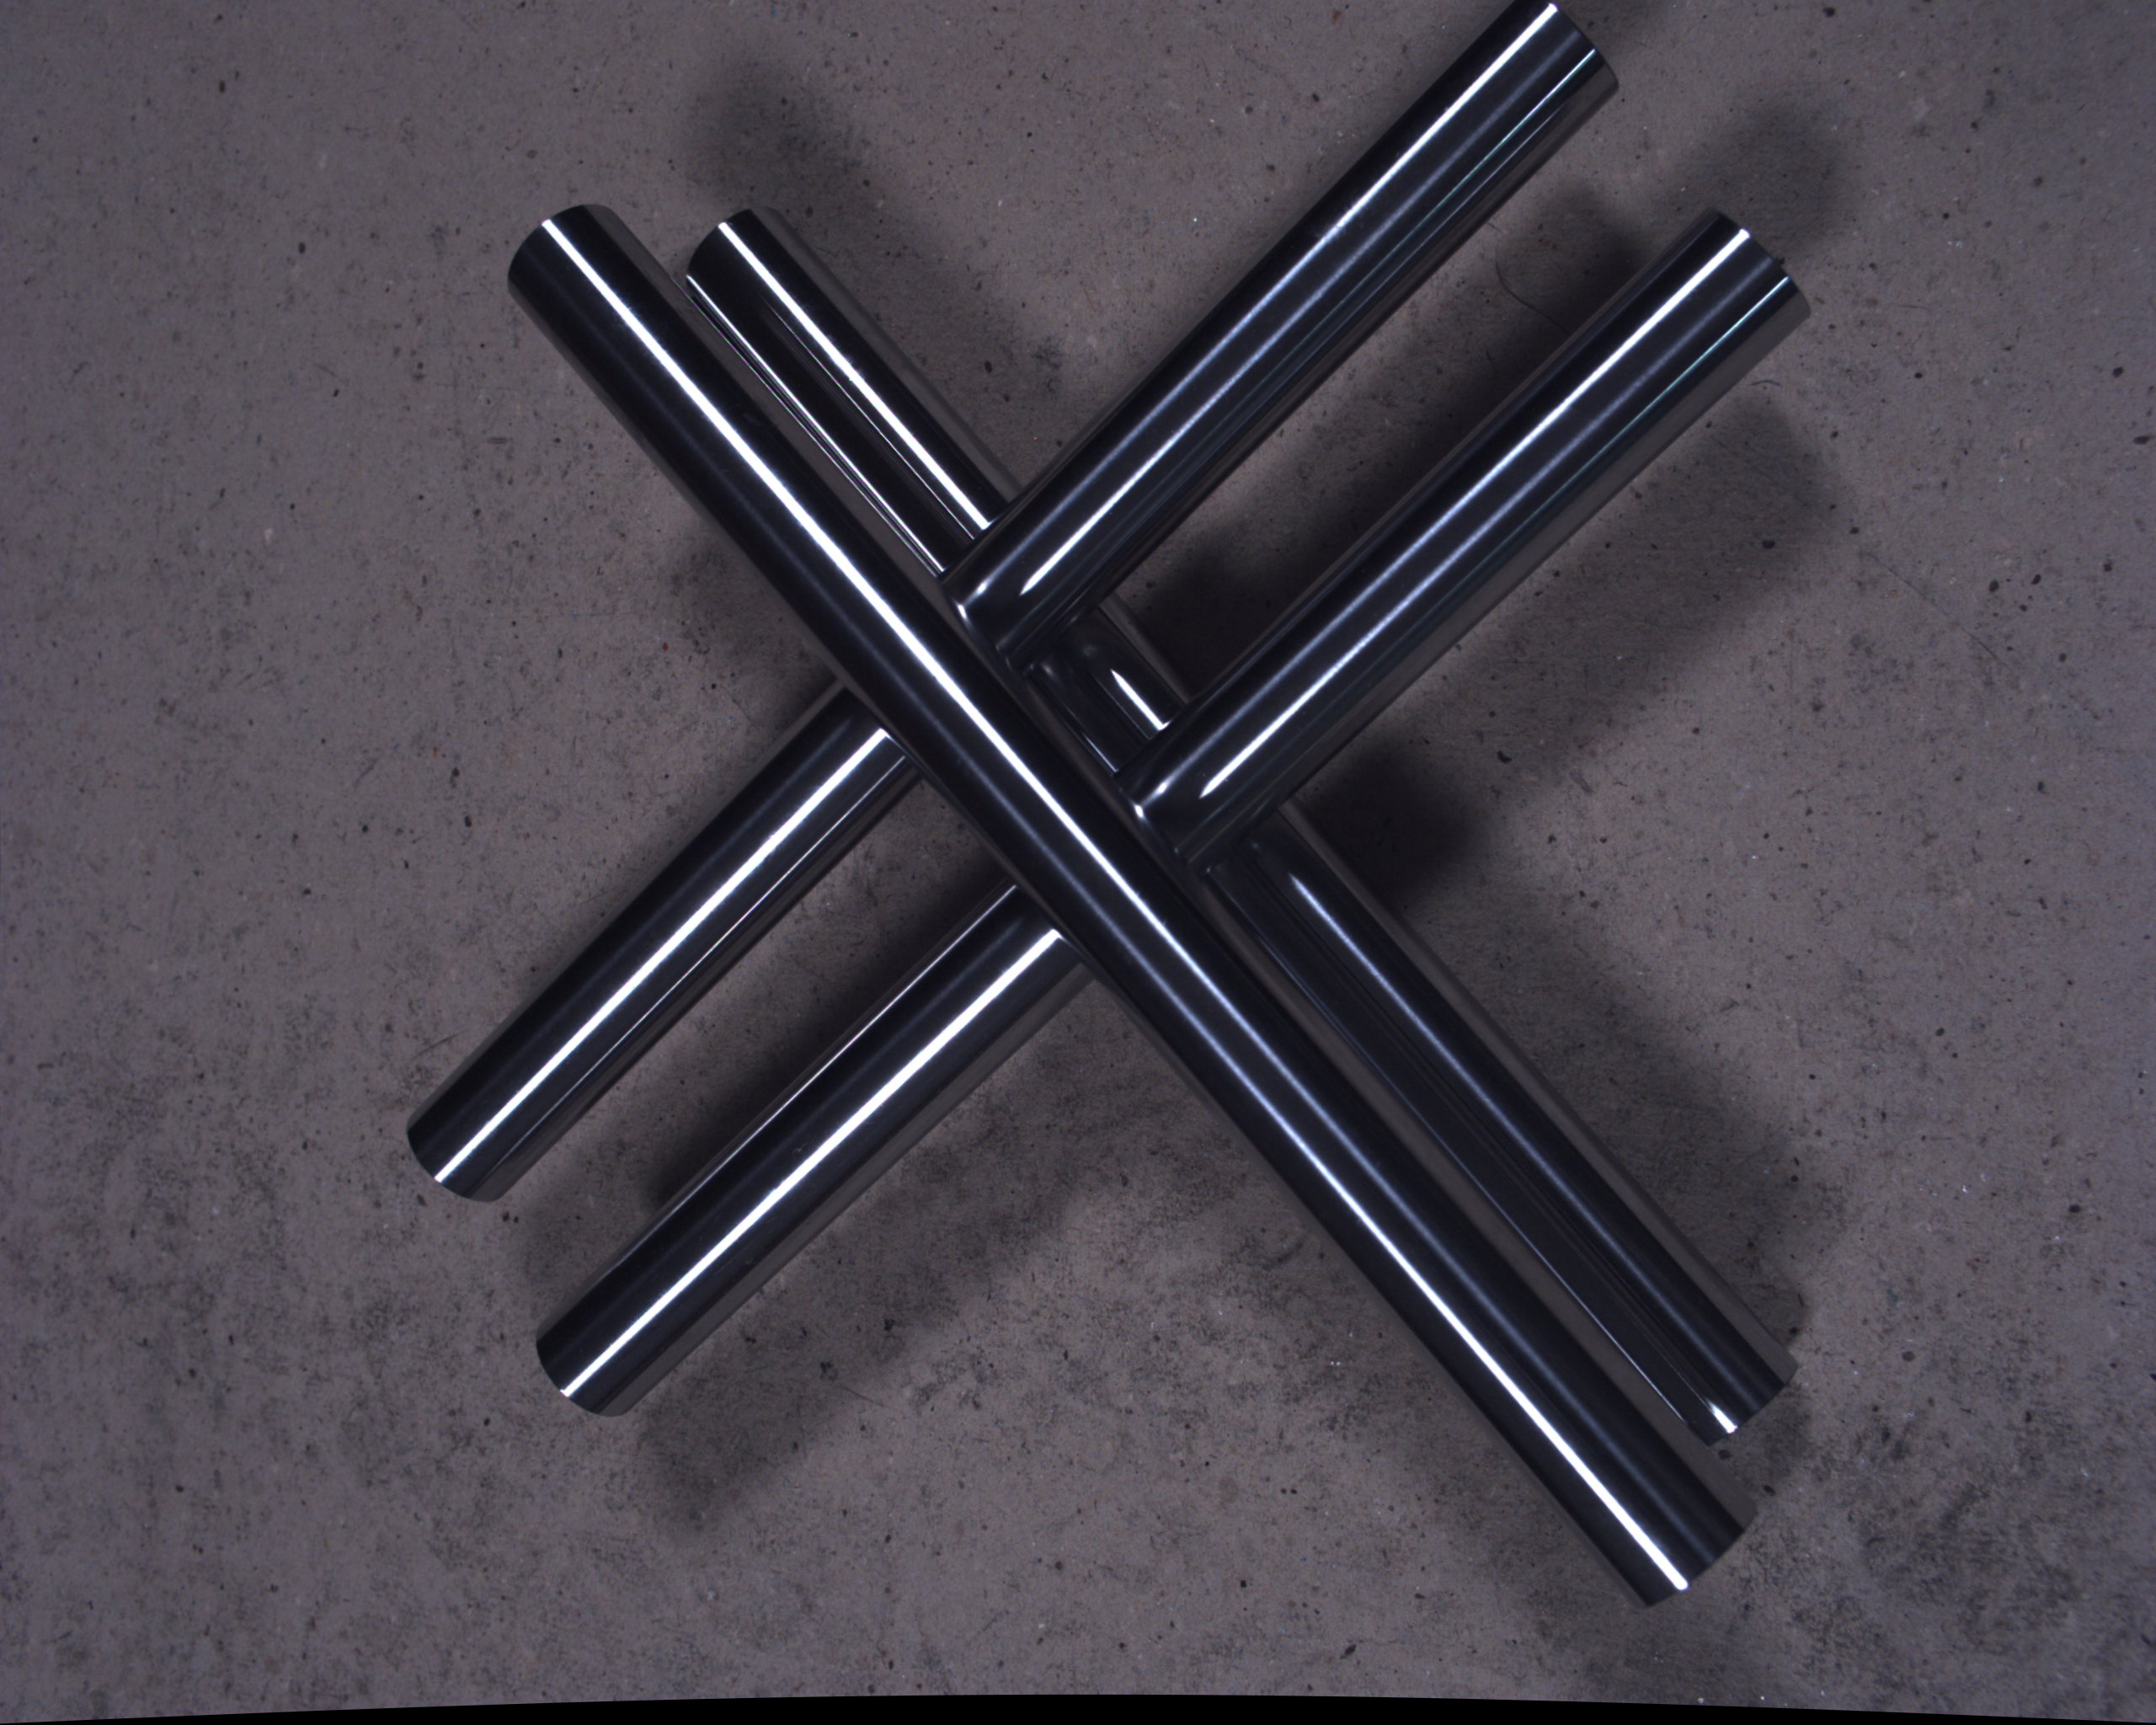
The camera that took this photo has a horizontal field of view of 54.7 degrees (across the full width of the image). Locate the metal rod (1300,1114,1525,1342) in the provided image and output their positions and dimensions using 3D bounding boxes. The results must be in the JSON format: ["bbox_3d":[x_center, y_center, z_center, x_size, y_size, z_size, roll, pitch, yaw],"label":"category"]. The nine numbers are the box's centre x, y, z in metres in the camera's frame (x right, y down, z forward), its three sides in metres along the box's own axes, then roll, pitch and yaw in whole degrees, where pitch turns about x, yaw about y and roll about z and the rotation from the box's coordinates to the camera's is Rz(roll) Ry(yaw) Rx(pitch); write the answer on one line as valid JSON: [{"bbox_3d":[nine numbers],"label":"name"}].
[{"bbox_3d":[0.004,-0.001,0.408,0.025,0.025,0.300,-44,77,14],"label":"metal rod"}]

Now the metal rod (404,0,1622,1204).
[{"bbox_3d":[-0.022,-0.040,0.390,0.299,0.025,0.025,-43,77,14],"label":"metal rod"}]

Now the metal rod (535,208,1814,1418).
[{"bbox_3d":[0.007,0.001,0.380,0.299,0.025,0.025,-43,77,14],"label":"metal rod"}]

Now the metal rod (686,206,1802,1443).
[{"bbox_3d":[0.023,-0.015,0.401,0.025,0.025,0.300,-44,77,14],"label":"metal rod"}]

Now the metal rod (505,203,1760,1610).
[{"bbox_3d":[0.000,-0.003,0.356,0.025,0.025,0.300,-44,77,14],"label":"metal rod"}]
